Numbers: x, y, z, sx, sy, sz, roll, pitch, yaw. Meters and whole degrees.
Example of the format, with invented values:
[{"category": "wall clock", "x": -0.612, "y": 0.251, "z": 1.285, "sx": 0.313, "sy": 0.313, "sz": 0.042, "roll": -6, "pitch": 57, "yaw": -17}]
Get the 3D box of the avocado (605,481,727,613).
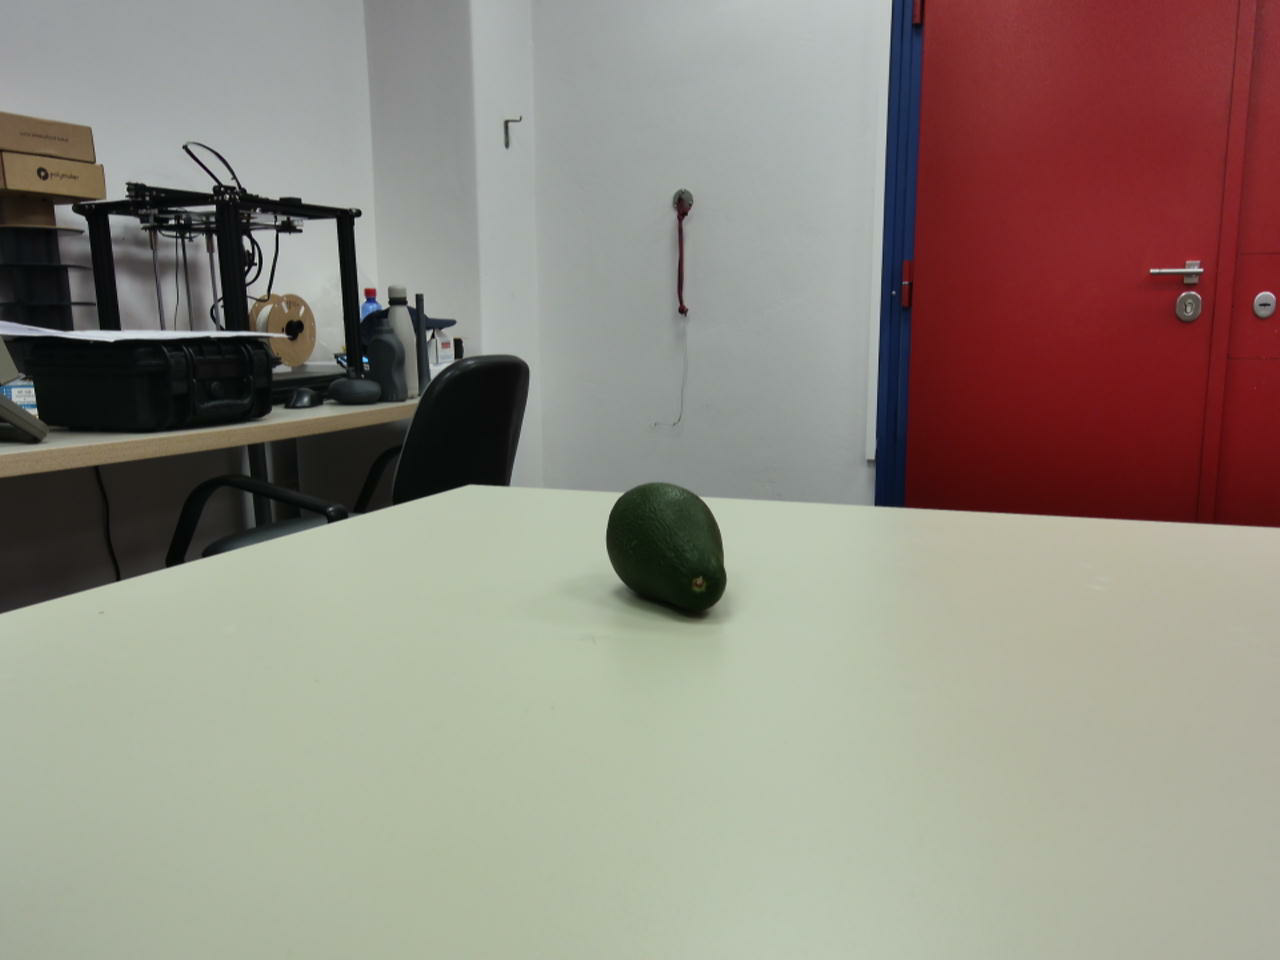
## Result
[{"category": "avocado", "x": 0.015, "y": 0.039, "z": 0.609, "sx": 0.072, "sy": 0.071, "sz": 0.109, "roll": 0, "pitch": 7, "yaw": 0}]
